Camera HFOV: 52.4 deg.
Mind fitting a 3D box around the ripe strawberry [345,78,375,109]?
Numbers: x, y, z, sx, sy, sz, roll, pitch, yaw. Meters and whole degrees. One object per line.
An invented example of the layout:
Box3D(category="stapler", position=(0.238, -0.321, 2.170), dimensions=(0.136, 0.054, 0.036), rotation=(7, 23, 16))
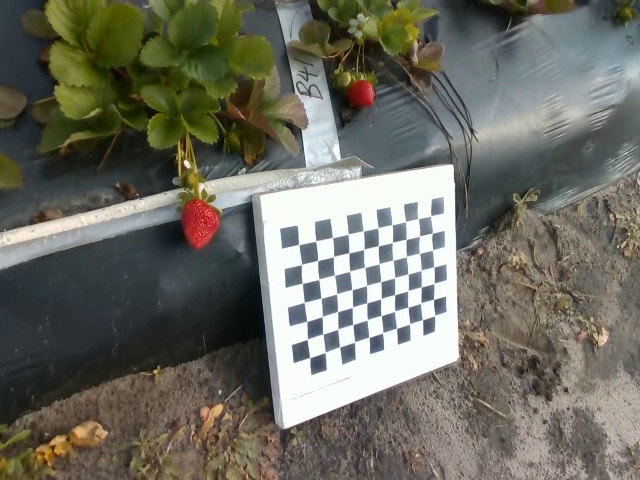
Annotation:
Box3D(category="ripe strawberry", position=(0.051, -0.170, 0.740), dimensions=(0.037, 0.031, 0.048), rotation=(4, 41, -35))

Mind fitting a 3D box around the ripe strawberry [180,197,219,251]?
Box3D(category="ripe strawberry", position=(-0.111, -0.013, 0.598), dimensions=(0.030, 0.053, 0.047), rotation=(-19, -41, 41))
